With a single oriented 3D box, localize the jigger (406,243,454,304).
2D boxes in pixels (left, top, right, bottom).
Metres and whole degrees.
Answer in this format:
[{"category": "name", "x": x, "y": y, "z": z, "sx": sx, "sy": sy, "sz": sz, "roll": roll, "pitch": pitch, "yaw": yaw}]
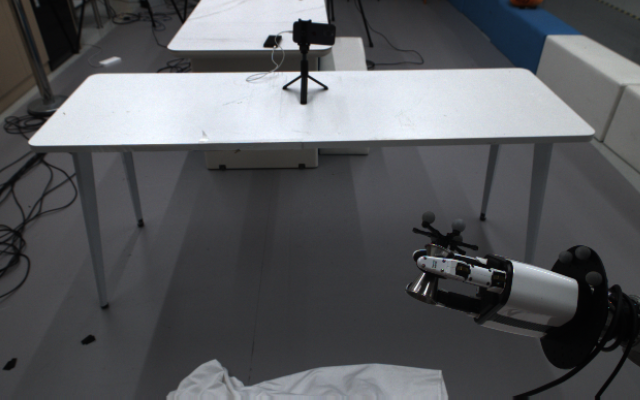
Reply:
[{"category": "jigger", "x": 0.140, "y": 0.091, "z": 0.621, "sx": 0.043, "sy": 0.043, "sz": 0.071, "roll": 20, "pitch": 72, "yaw": 24}]
